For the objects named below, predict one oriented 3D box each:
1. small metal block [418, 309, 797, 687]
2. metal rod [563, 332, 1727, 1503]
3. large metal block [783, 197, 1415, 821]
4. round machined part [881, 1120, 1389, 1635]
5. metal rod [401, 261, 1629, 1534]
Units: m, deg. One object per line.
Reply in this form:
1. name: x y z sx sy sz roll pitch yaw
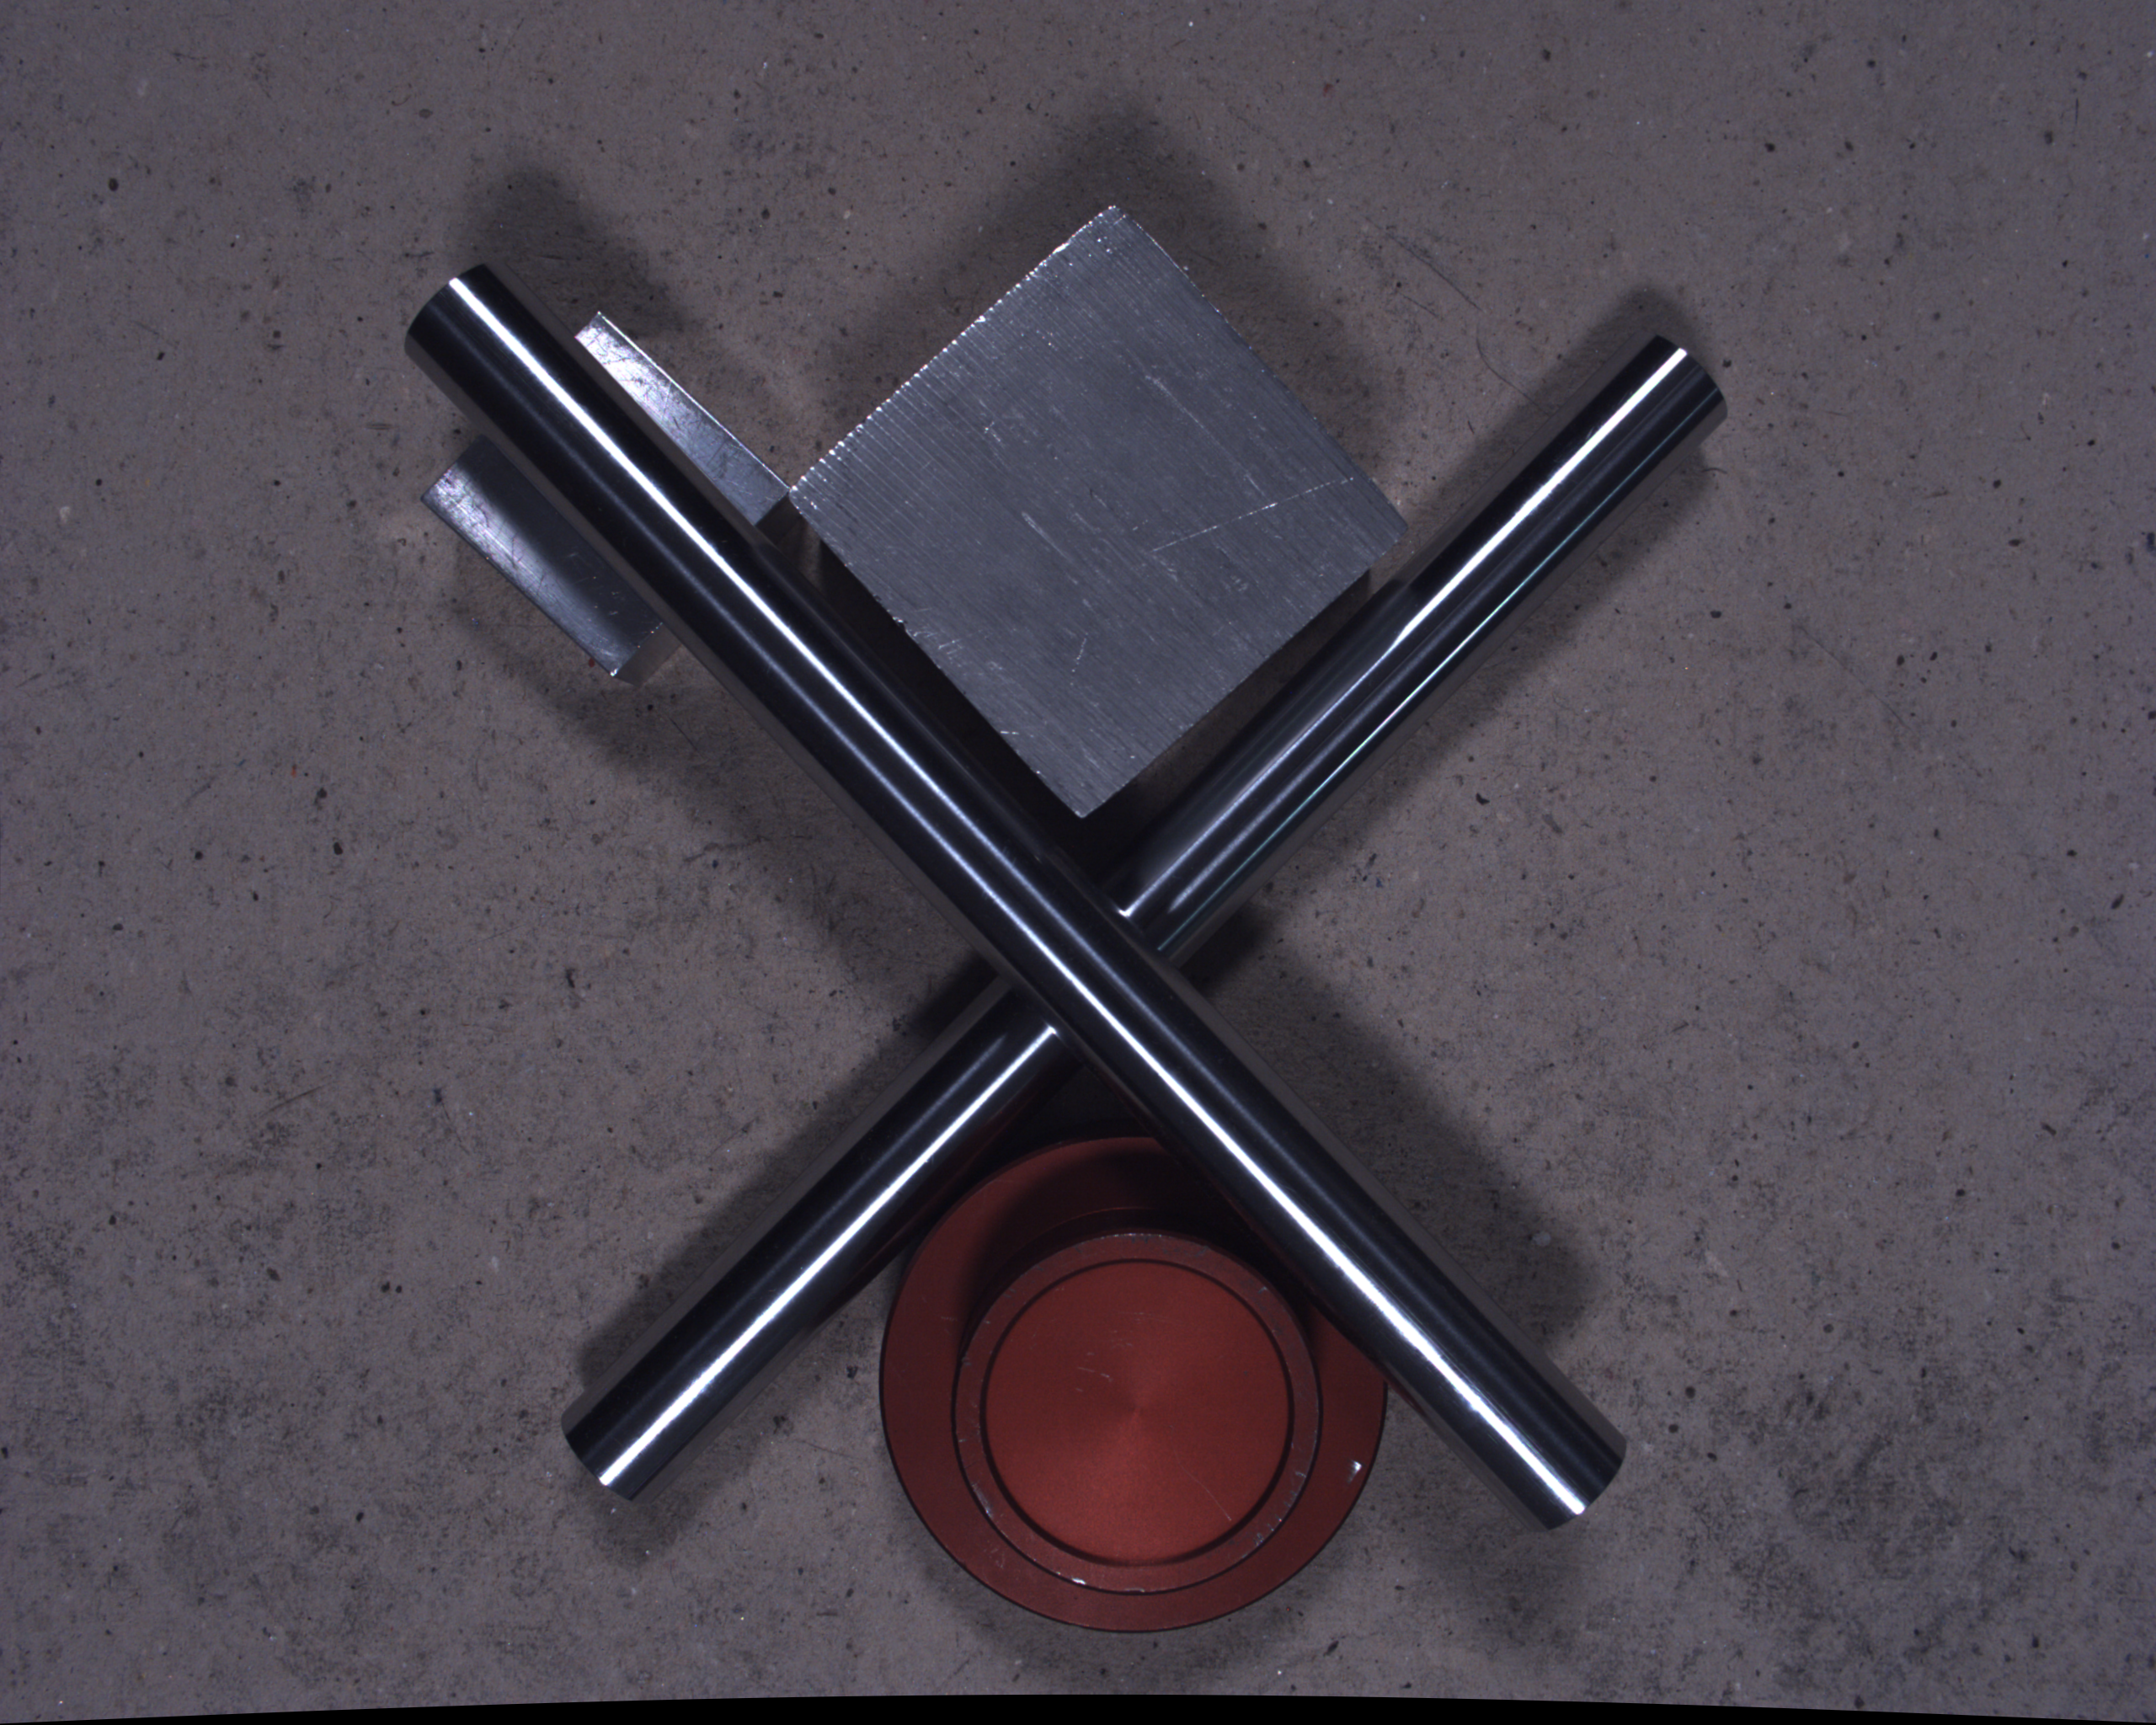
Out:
1. small metal block: -0.090 -0.071 0.411 0.050 0.025 0.050 43 90 -1
2. metal rod: 0.014 0.010 0.413 0.025 0.025 0.300 45 89 -1
3. large metal block: 0.004 -0.064 0.400 0.080 0.050 0.080 -42 91 0
4. round machined part: 0.011 0.101 0.402 0.099 0.042 0.097 0 90 -1
5. metal rod: -0.011 0.007 0.385 0.025 0.025 0.300 -44 91 0
